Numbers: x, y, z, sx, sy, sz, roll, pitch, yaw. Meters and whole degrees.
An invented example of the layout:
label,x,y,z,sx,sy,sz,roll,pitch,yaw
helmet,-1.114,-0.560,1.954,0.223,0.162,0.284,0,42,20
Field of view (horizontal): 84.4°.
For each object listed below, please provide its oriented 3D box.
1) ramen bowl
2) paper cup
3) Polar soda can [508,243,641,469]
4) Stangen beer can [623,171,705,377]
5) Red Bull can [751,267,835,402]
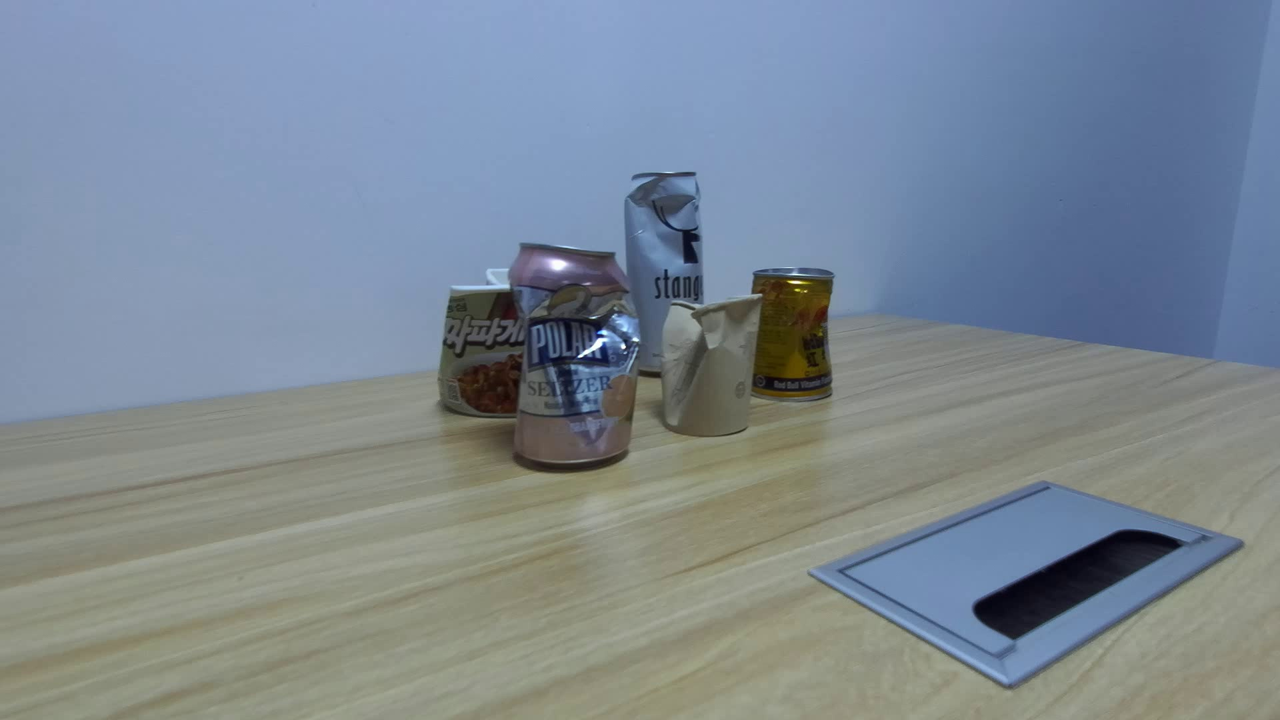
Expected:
label,x,y,z,sx,sy,sz,roll,pitch,yaw
ramen bowl,-0.093,-0.015,0.516,0.111,0.093,0.128,4,13,19
paper cup,0.041,0.002,0.451,0.058,0.083,0.067,3,10,29
Polar soda can,-0.037,-0.003,0.400,0.071,0.121,0.066,-3,5,-17
Stangen beer can,0.023,-0.068,0.592,0.066,0.165,0.066,-3,6,8
Red Bull can,0.112,-0.021,0.528,0.072,0.092,0.072,1,12,0
